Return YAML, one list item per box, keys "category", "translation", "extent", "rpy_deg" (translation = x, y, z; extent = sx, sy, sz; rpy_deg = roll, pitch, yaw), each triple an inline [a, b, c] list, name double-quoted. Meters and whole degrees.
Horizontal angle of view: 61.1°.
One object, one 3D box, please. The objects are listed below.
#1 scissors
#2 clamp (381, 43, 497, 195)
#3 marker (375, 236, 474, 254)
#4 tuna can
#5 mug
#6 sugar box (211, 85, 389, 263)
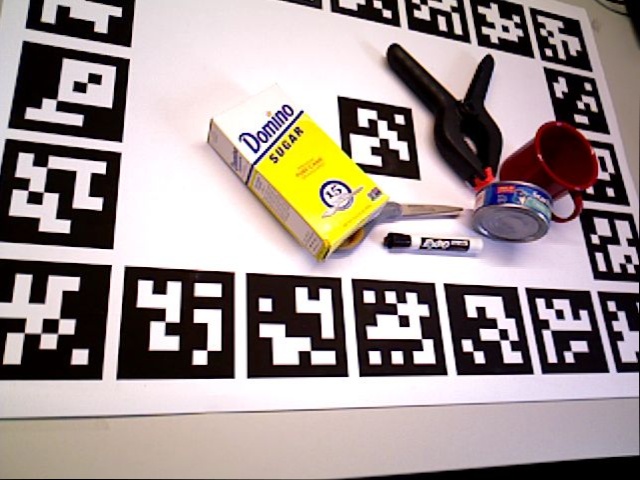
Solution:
- category: "scissors"
  translation: [0.073, -0.037, 0.602]
  extent: [0.199, 0.016, 0.087]
  rpy_deg: [-6, 70, -25]
- category: "clamp"
  translation: [0.172, -0.156, 0.687]
  extent: [0.163, 0.037, 0.202]
  rpy_deg: [-6, 75, -24]
- category: "marker"
  translation: [0.117, 0.006, 0.606]
  extent: [0.119, 0.020, 0.019]
  rpy_deg: [1, 71, -20]
- category: "tuna can"
  translation: [0.221, -0.030, 0.621]
  extent: [0.085, 0.087, 0.033]
  rpy_deg: [21, 63, -13]
- category: "mug"
  translation: [0.271, -0.074, 0.662]
  extent: [0.091, 0.083, 0.117]
  rpy_deg: [-25, 78, -28]
- category: "sugar box"
  translation: [-0.022, -0.073, 0.559]
  extent: [0.091, 0.046, 0.176]
  rpy_deg: [-35, 80, -28]
